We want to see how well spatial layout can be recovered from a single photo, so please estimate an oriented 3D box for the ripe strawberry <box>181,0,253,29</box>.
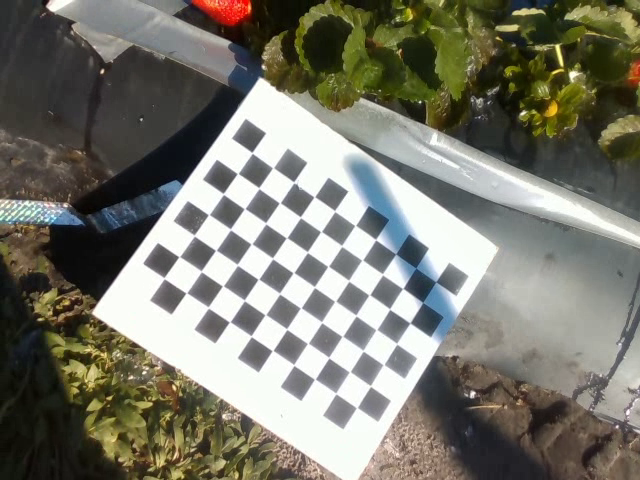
[{"bbox_3d":[-0.103,-0.239,0.642,0.058,0.061,0.065,-22,2,36],"label":"ripe strawberry"}]
